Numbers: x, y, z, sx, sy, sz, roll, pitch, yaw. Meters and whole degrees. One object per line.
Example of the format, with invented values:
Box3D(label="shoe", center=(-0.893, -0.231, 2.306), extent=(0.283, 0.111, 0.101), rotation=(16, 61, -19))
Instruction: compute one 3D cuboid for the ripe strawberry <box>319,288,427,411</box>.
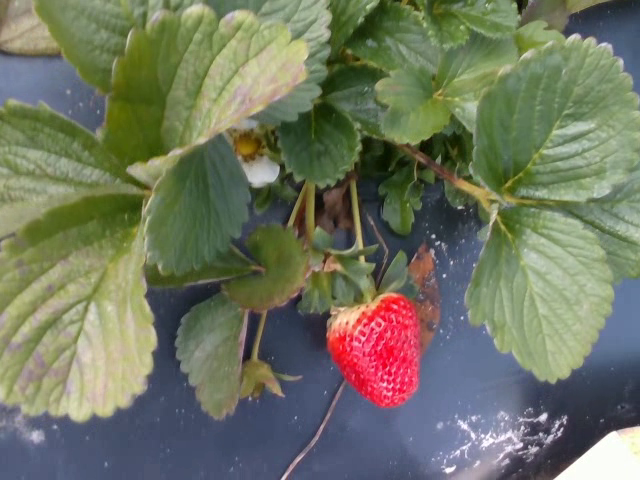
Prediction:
Box3D(label="ripe strawberry", center=(0.025, 0.055, 0.276), extent=(0.050, 0.053, 0.049), rotation=(-6, -24, -17))
